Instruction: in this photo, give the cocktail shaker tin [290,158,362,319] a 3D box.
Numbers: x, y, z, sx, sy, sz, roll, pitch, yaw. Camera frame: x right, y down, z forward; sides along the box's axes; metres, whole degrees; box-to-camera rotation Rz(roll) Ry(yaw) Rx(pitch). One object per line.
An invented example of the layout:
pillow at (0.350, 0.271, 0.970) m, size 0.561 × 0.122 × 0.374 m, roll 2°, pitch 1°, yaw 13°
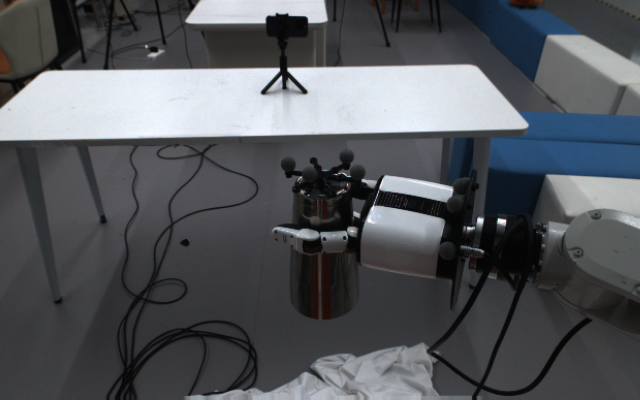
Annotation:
cocktail shaker tin at (0.009, 0.050, 0.596) m, size 0.093 × 0.170 × 0.093 m, roll -1°, pitch 32°, yaw 1°
